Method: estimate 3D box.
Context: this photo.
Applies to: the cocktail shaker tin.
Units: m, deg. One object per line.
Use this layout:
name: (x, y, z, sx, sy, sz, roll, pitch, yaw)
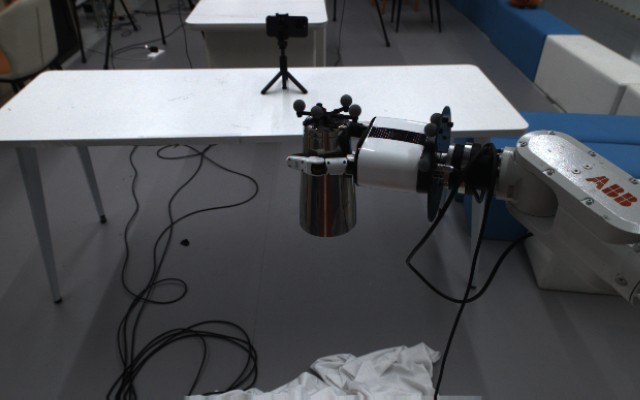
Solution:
cocktail shaker tin: (0.014, -0.044, 0.730, 0.093, 0.170, 0.093, -1, 32, 1)
